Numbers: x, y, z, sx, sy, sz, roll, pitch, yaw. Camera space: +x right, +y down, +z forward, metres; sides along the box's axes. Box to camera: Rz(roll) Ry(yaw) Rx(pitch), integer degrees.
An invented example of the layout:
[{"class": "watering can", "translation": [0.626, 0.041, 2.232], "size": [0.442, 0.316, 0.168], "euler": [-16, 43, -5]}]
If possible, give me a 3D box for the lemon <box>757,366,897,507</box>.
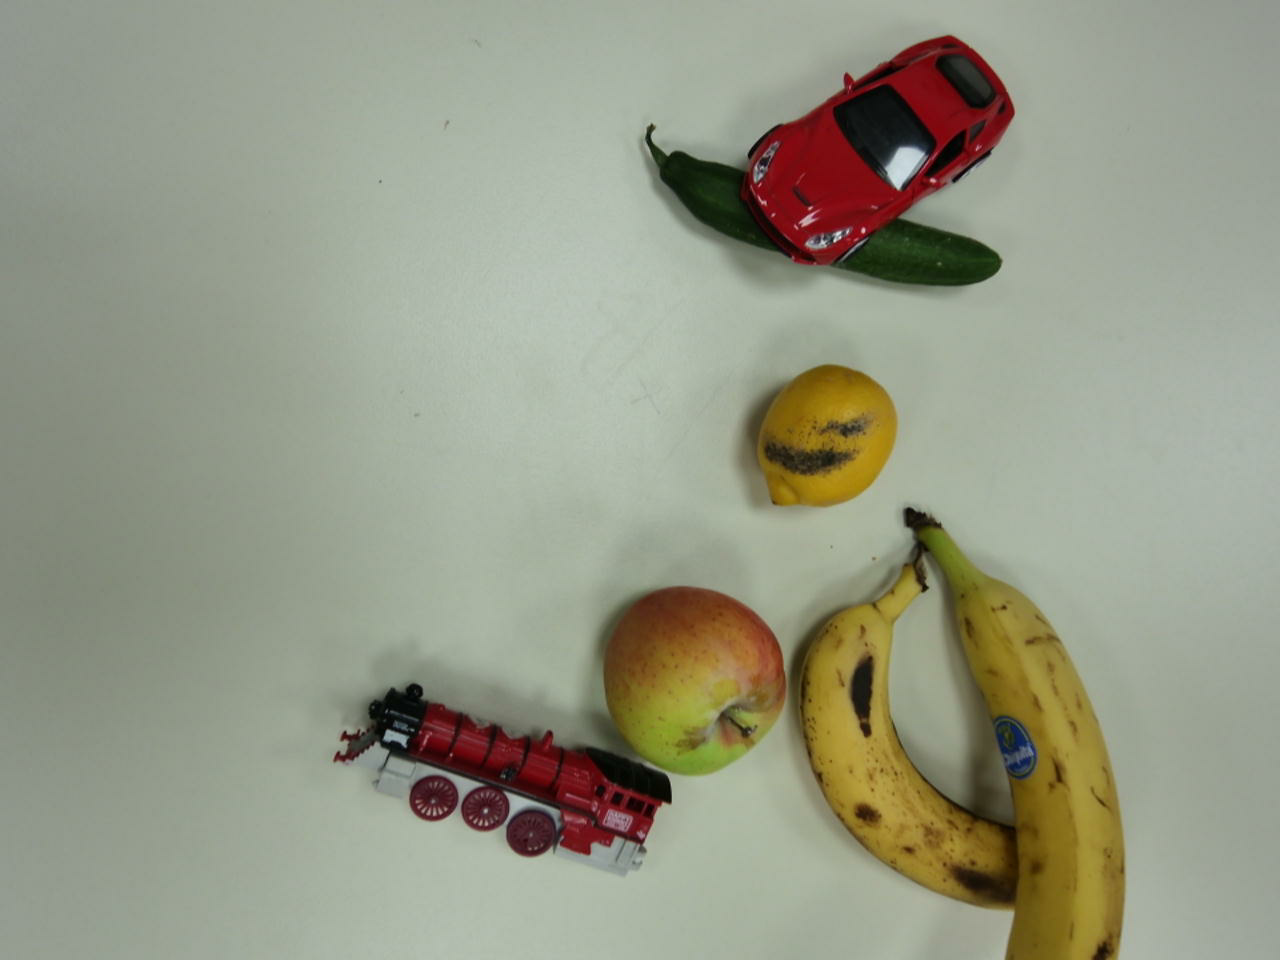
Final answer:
[{"class": "lemon", "translation": [0.081, -0.018, 0.431], "size": [0.058, 0.056, 0.061], "euler": [2, 90, -12]}]
